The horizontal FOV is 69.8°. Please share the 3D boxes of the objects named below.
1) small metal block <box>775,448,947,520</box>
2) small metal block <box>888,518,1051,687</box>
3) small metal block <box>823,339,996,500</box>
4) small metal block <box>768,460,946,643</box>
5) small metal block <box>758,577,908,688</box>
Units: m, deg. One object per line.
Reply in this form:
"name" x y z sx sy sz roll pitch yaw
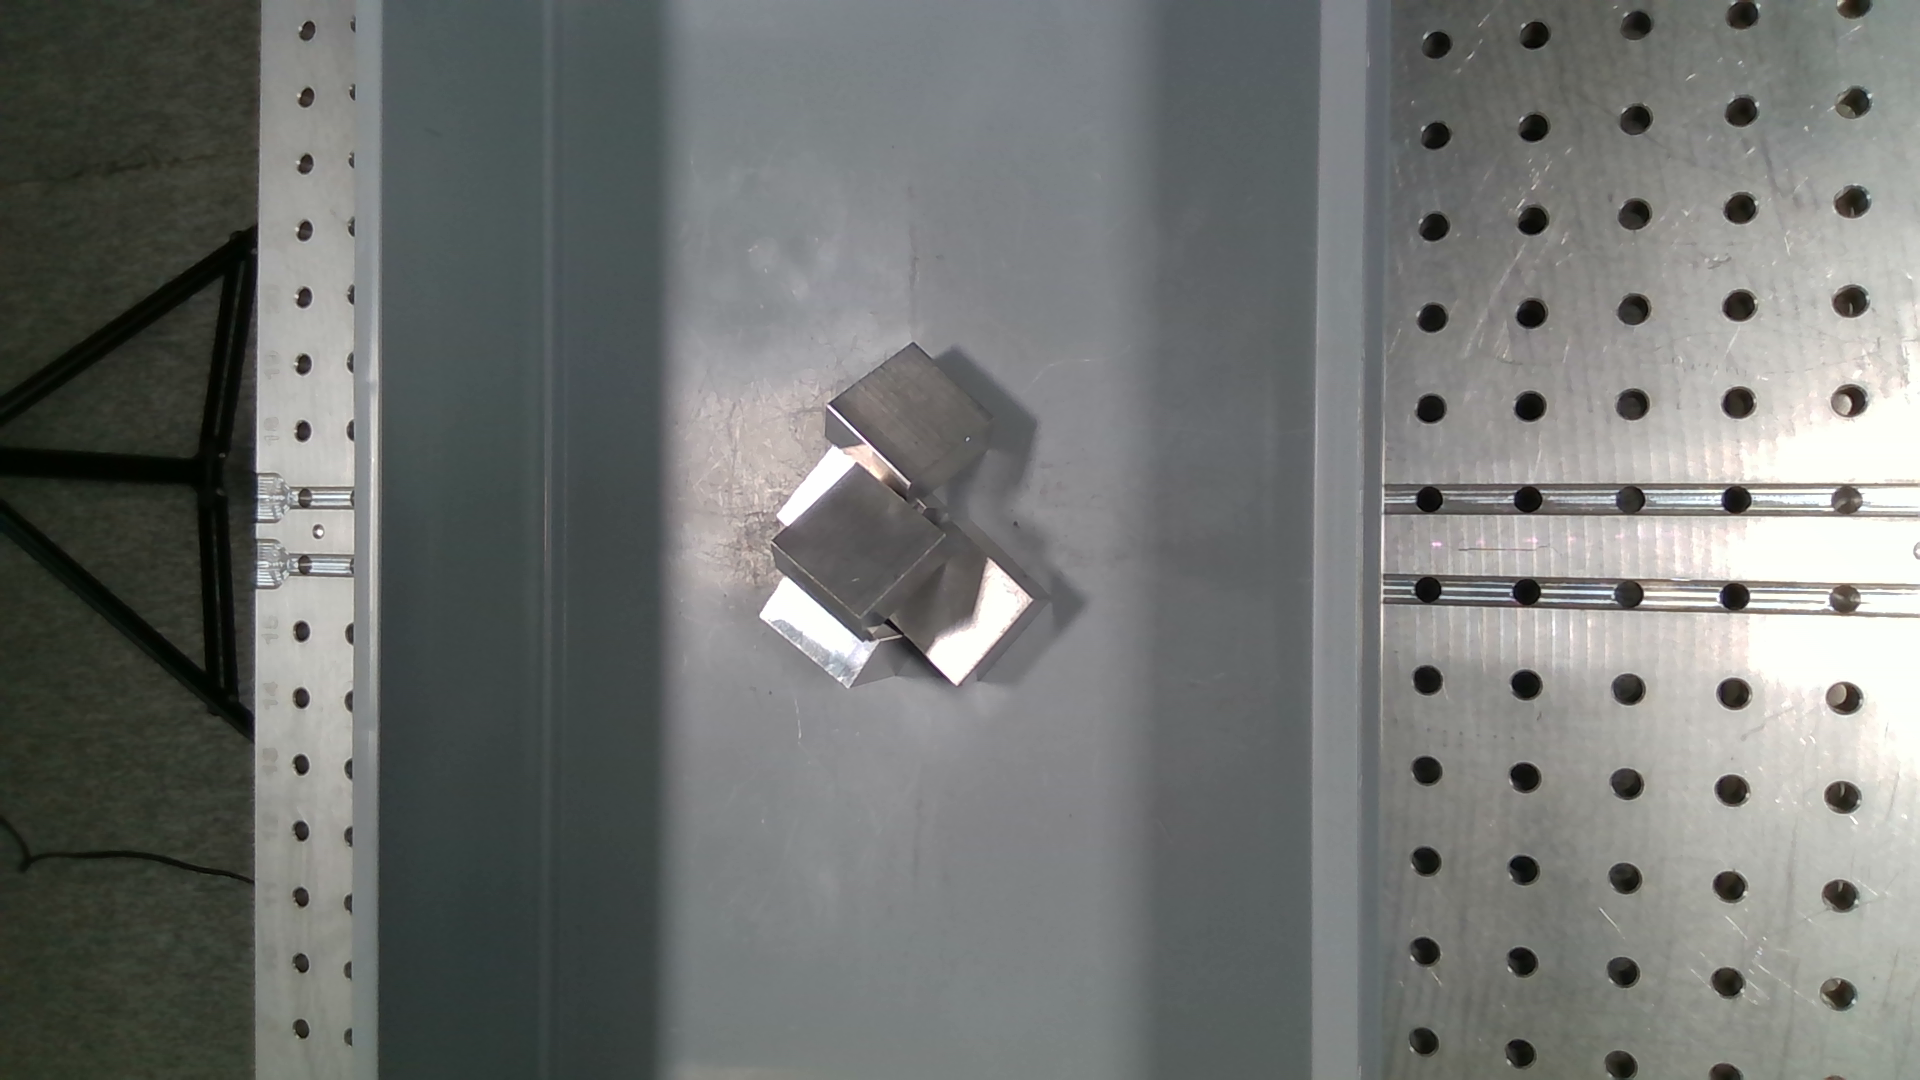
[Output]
"small metal block" -0.043 -0.013 0.600 0.050 0.025 0.050 44 104 15
"small metal block" 0.001 0.026 0.584 0.050 0.025 0.050 44 104 15
"small metal block" -0.022 -0.048 0.579 0.050 0.025 0.050 -39 74 -24
"small metal block" -0.041 0.004 0.560 0.050 0.025 0.050 39 69 16
"small metal block" -0.050 0.036 0.590 0.050 0.050 0.025 37 102 16
